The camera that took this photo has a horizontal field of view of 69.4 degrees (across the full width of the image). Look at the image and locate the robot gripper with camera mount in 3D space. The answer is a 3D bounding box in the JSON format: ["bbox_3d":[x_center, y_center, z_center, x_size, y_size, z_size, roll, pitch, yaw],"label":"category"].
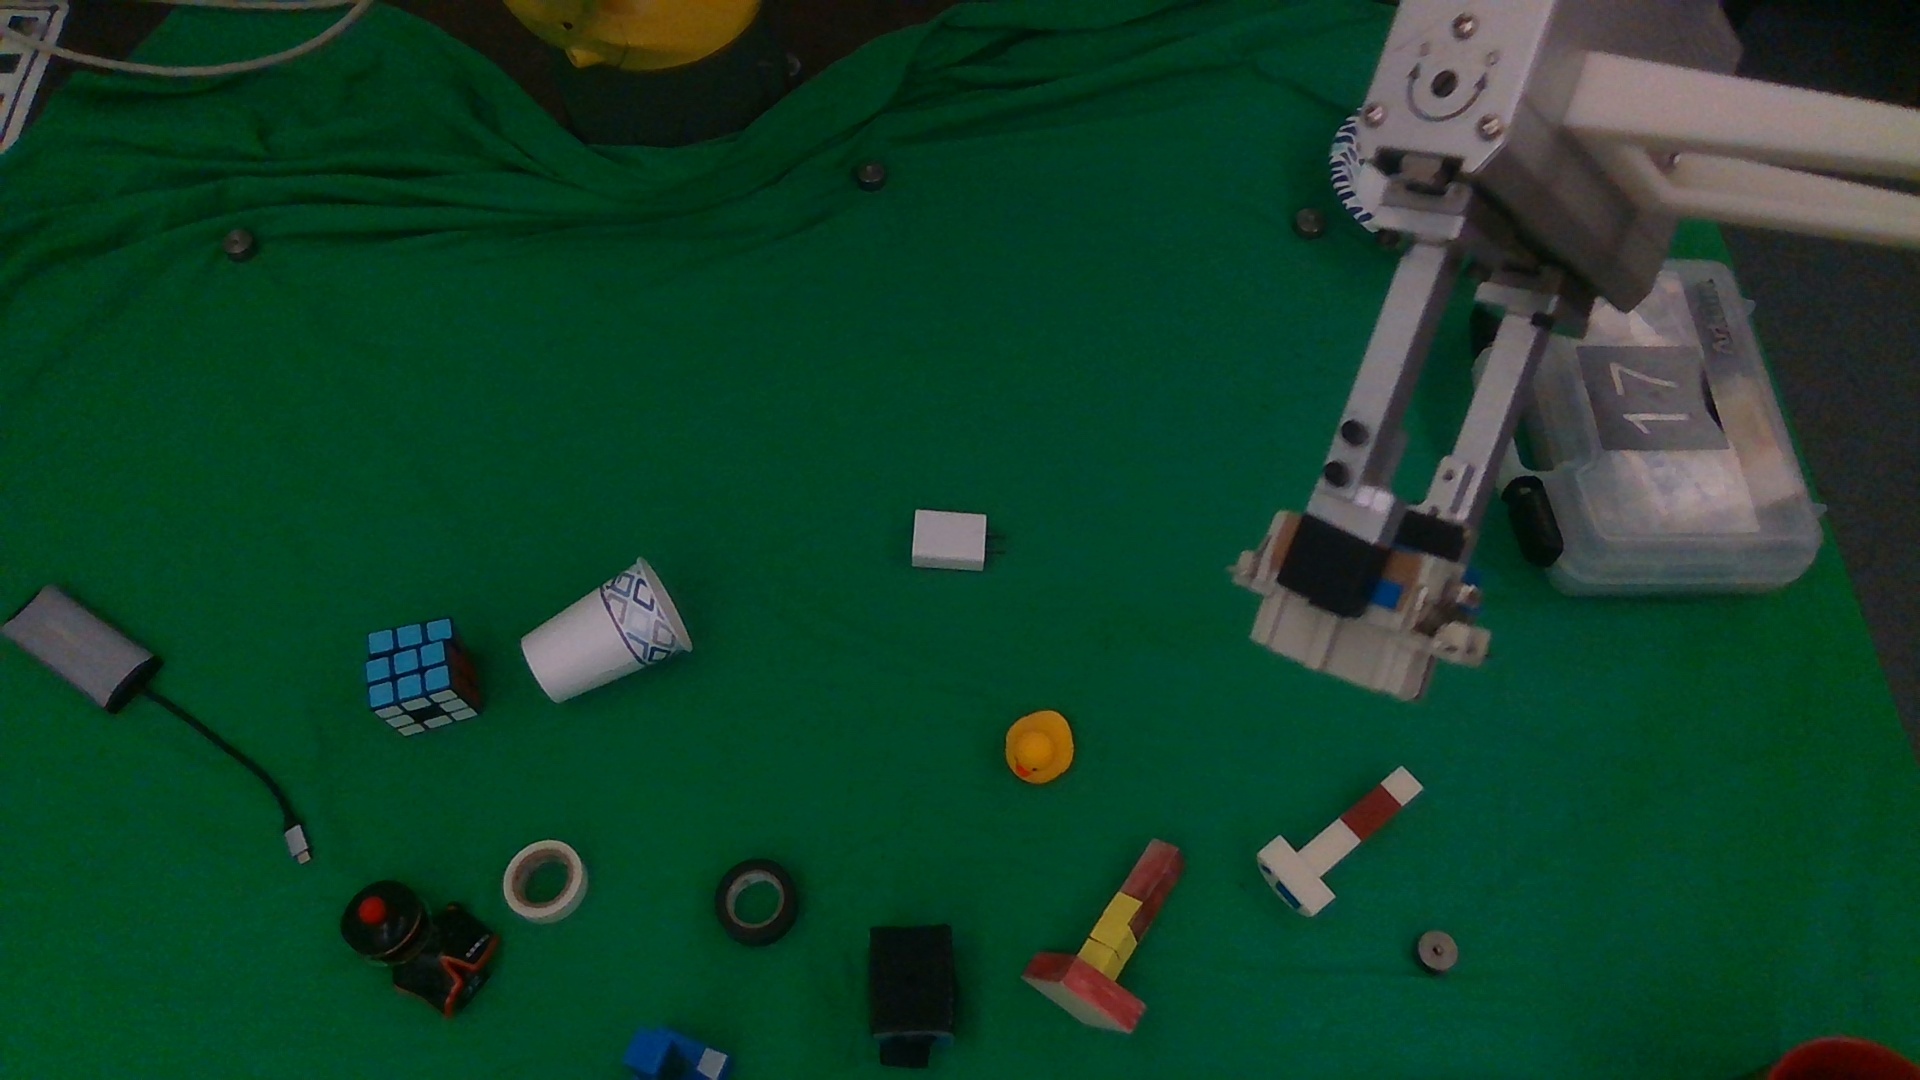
[{"bbox_3d":[0.181,-0.031,0.287,0.194,0.118,0.158,22,97,40],"label":"robot gripper with camera mount"}]

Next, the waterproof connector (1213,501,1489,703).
[{"bbox_3d":[0.096,0.015,0.344,0.065,0.034,0.037,23,95,37],"label":"waterproof connector"}]
